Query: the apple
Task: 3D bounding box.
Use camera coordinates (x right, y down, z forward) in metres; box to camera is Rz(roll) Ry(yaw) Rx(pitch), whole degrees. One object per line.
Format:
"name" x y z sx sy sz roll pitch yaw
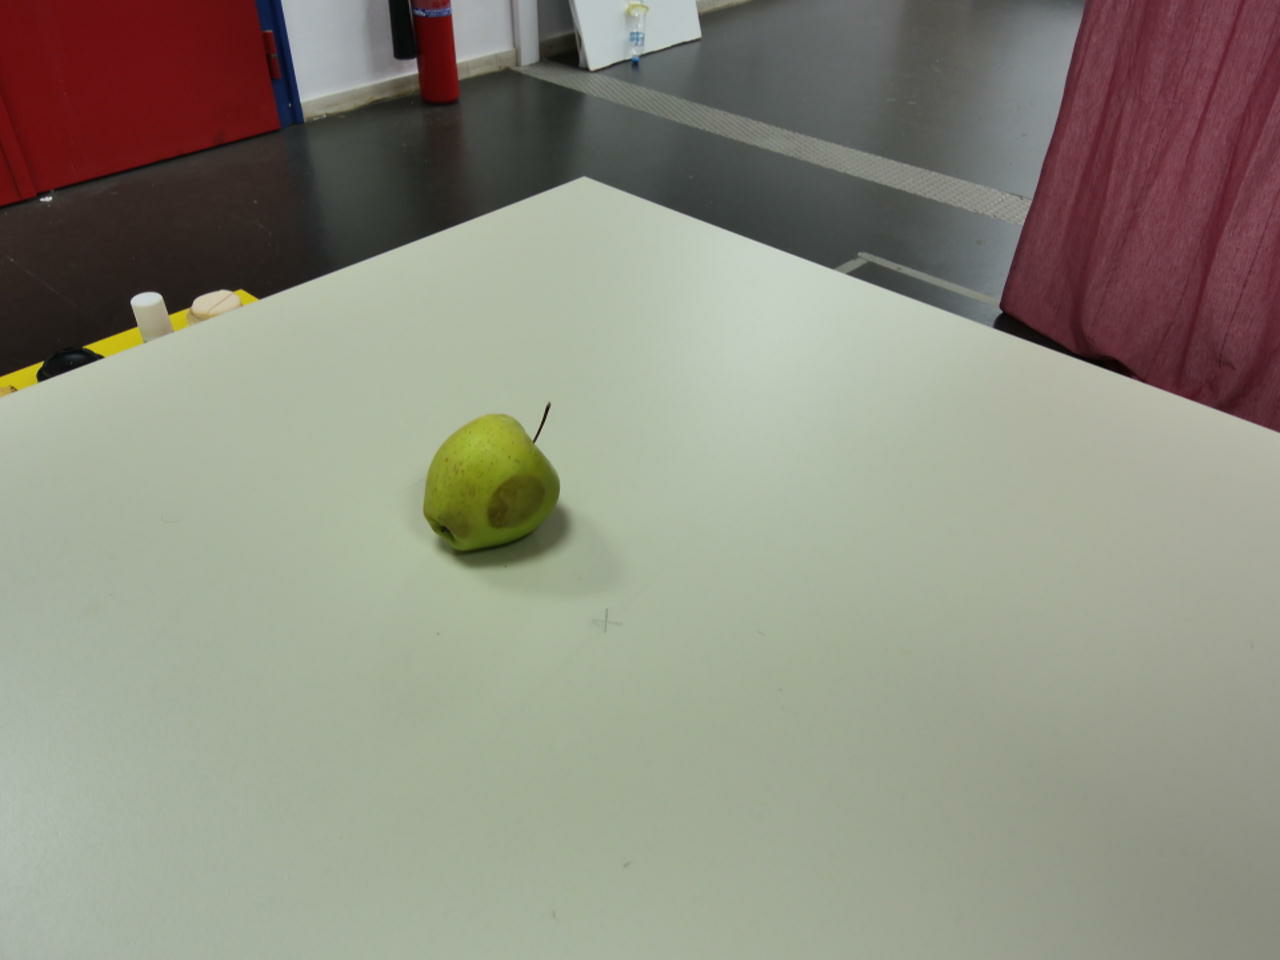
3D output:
"apple" -0.087 0.000 0.582 0.077 0.075 0.072 -3 37 -4
